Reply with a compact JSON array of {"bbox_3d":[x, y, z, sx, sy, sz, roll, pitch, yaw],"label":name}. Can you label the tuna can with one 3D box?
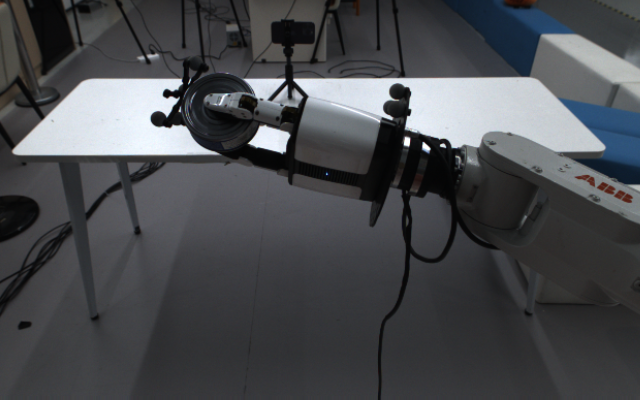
[{"bbox_3d":[-0.110,-0.101,0.550,0.085,0.034,0.085,0,75,-2],"label":"tuna can"}]
